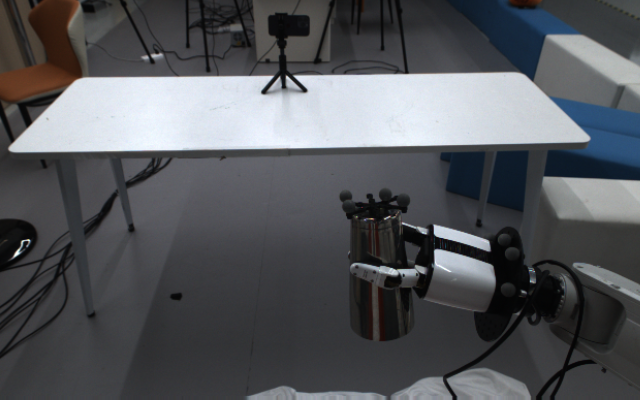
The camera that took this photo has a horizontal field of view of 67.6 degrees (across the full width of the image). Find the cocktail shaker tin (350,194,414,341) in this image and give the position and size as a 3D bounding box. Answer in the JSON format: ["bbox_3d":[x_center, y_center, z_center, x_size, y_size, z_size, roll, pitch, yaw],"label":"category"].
[{"bbox_3d":[0.082,0.094,0.664,0.093,0.170,0.093,-6,19,2],"label":"cocktail shaker tin"}]
